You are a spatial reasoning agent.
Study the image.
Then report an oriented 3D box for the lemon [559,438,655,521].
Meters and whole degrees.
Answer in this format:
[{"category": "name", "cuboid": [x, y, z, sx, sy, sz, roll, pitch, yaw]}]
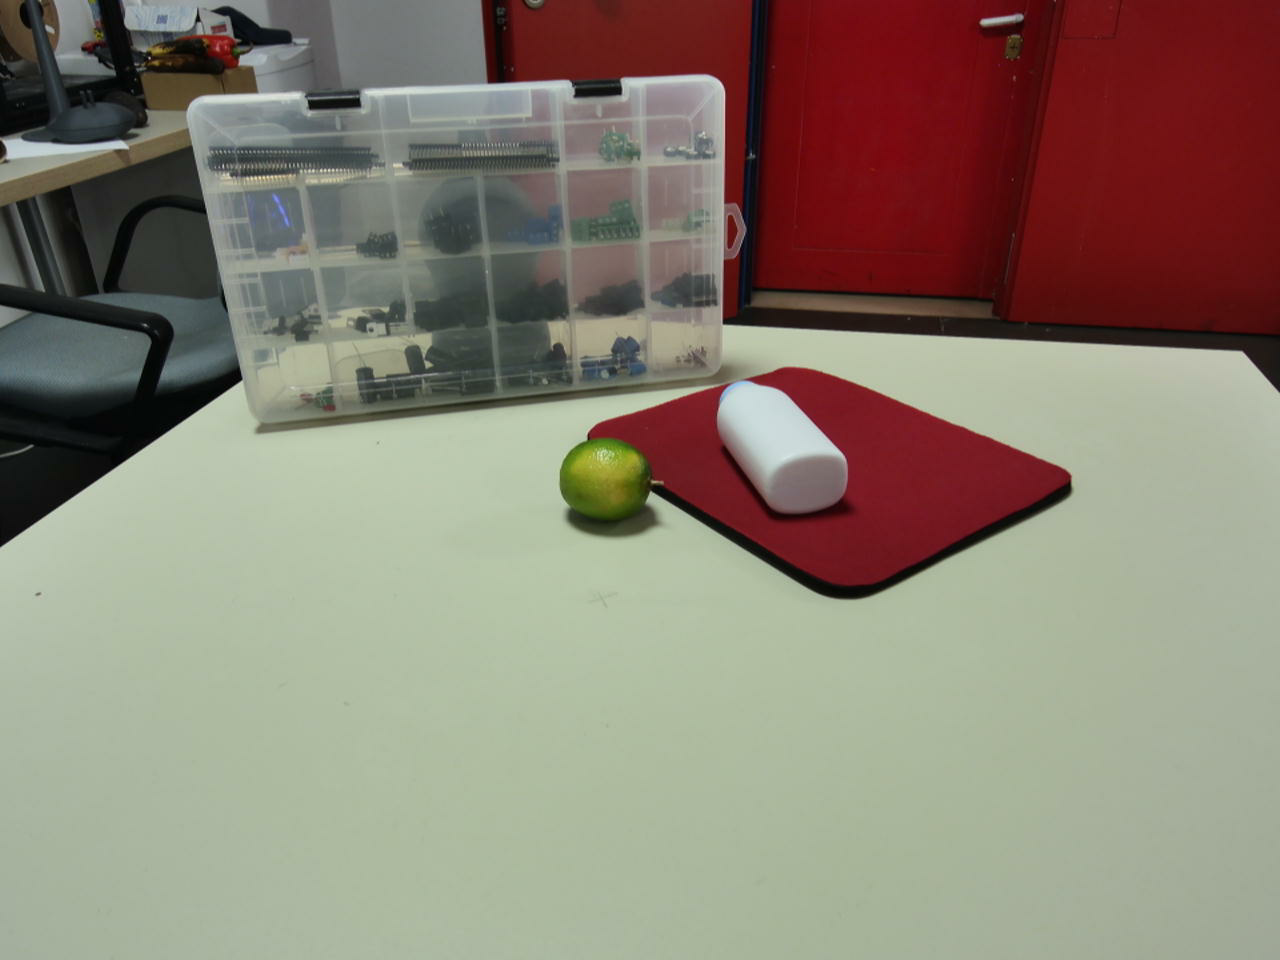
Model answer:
[{"category": "lemon", "cuboid": [-0.021, 0.000, 0.612, 0.054, 0.050, 0.055, -14, 29, -25]}]
